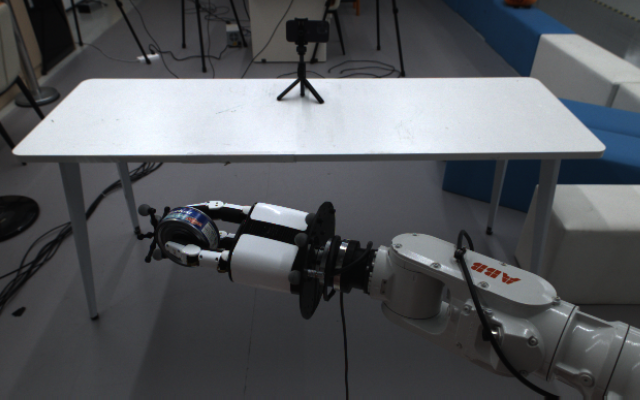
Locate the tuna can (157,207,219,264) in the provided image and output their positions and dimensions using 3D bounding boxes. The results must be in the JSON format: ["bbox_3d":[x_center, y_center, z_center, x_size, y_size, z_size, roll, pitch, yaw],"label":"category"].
[{"bbox_3d":[-0.185,0.056,0.682,0.085,0.085,0.034,9,34,10],"label":"tuna can"}]
